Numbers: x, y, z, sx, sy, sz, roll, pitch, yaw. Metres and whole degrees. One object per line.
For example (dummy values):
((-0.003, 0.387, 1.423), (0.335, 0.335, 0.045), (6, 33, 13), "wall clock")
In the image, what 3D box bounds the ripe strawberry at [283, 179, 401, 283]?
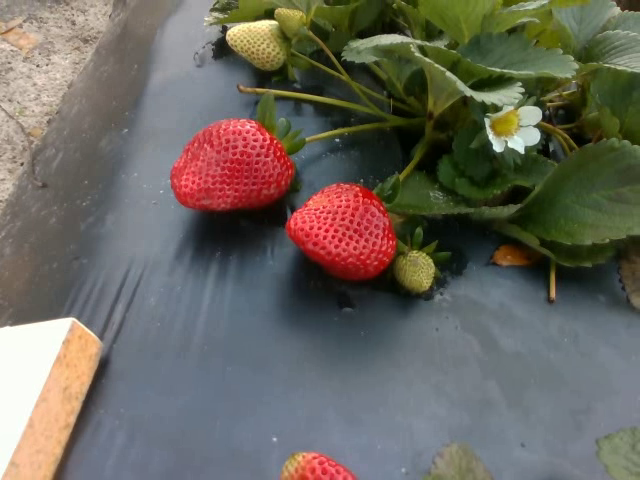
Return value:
((0.006, -0.005, 0.279), (0.050, 0.051, 0.059), (4, 4, 42), "ripe strawberry")

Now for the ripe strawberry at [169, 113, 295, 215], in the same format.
((-0.049, -0.034, 0.302), (0.058, 0.044, 0.065), (10, 40, 45), "ripe strawberry")
